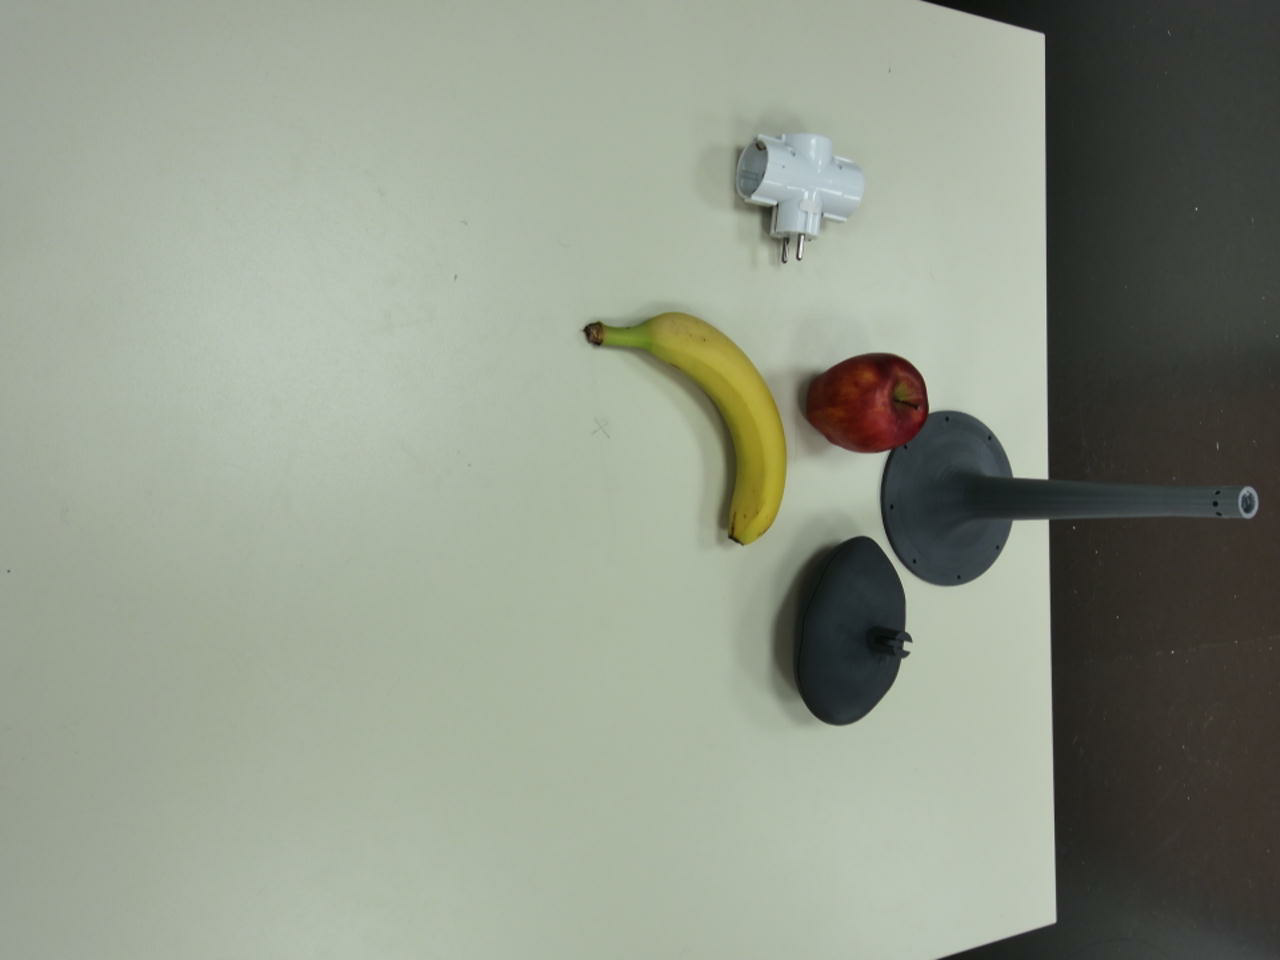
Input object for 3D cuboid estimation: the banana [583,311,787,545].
[{"bbox_3d":[0.053,-0.053,0.727,0.094,0.041,0.196,-40,108,-22],"label":"banana"}]
